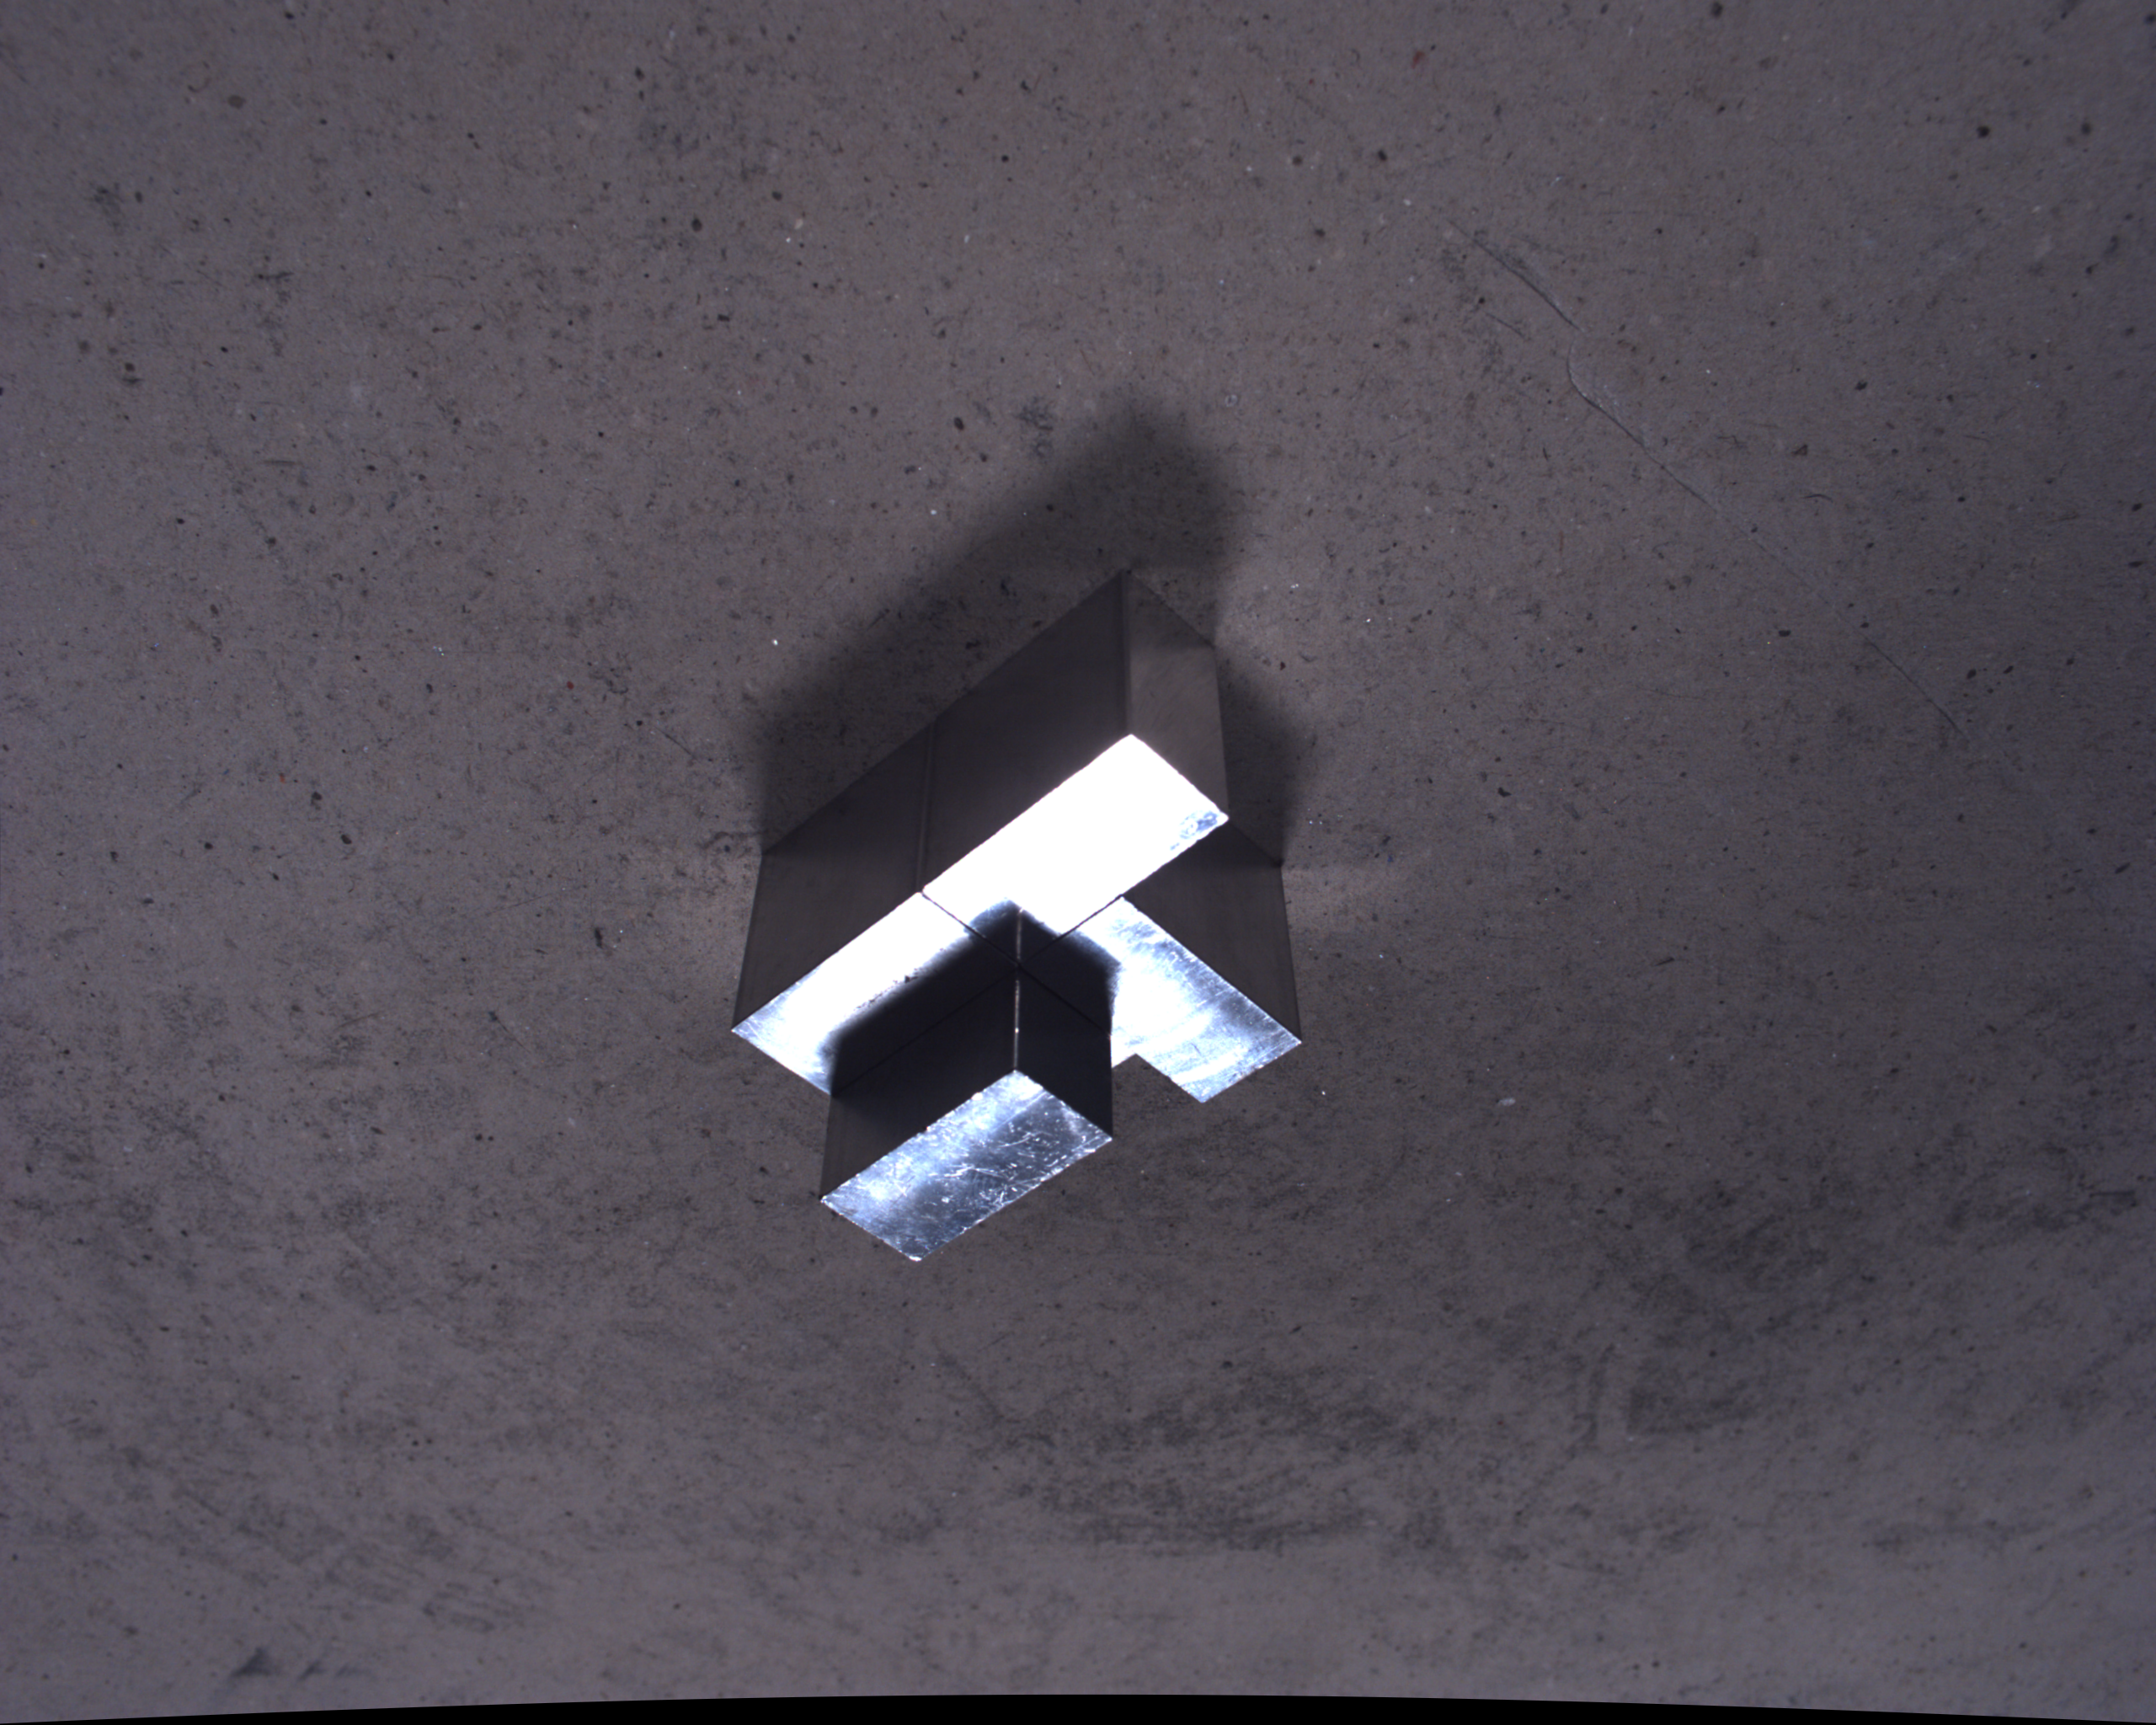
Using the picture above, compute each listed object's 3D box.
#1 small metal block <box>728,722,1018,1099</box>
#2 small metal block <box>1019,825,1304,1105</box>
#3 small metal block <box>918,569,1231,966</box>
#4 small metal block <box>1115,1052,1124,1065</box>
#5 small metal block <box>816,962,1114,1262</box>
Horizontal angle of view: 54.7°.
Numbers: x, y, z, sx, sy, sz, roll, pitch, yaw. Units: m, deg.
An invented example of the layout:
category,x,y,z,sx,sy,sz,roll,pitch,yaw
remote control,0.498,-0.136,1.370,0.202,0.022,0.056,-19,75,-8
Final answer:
category,x,y,z,sx,sy,sz,roll,pitch,yaw
small metal block,-0.038,0.009,0.399,0.050,0.050,0.025,-36,122,26
small metal block,0.016,0.010,0.401,0.025,0.050,0.050,-35,122,26
small metal block,-0.001,-0.017,0.377,0.050,0.050,0.025,-36,122,26
small metal block,-0.012,0.022,0.427,0.050,0.025,0.050,-35,122,25
small metal block,-0.021,0.039,0.392,0.050,0.050,0.025,-36,122,26
